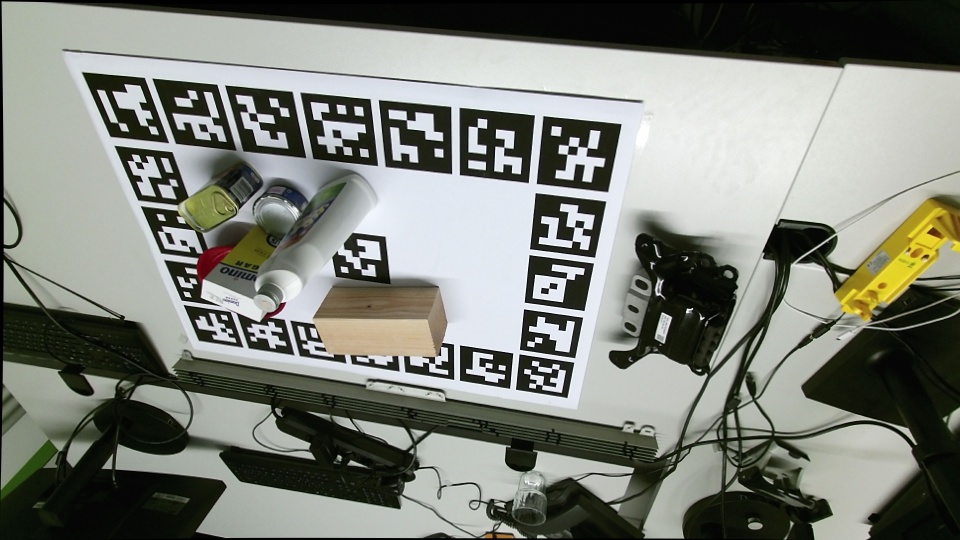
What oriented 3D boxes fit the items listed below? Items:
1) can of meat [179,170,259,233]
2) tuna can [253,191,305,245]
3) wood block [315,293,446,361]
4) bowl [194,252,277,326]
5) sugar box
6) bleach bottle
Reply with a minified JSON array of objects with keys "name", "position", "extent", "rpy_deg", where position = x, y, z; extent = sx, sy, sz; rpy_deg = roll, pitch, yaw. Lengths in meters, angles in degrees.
[{"name":"can of meat","position":[-0.408,-0.103,0.841],"extent":[0.102,0.083,0.058],"rpy_deg":[-19,124,25]},{"name":"tuna can","position":[-0.322,-0.083,0.861],"extent":[0.086,0.033,0.086],"rpy_deg":[5,124,7]},{"name":"wood block","position":[-0.176,0.100,0.941],"extent":[0.207,0.089,0.091],"rpy_deg":[0,122,13]},{"name":"bowl","position":[-0.428,0.024,0.953],"extent":[0.162,0.055,0.162],"rpy_deg":[3,127,4]},{"name":"sugar box","position":[-0.357,0.004,0.845],"extent":[0.093,0.176,0.045],"rpy_deg":[22,125,-9]},{"name":"bleach bottle","position":[-0.239,-0.029,0.753],"extent":[0.103,0.250,0.068],"rpy_deg":[-15,123,21]}]
